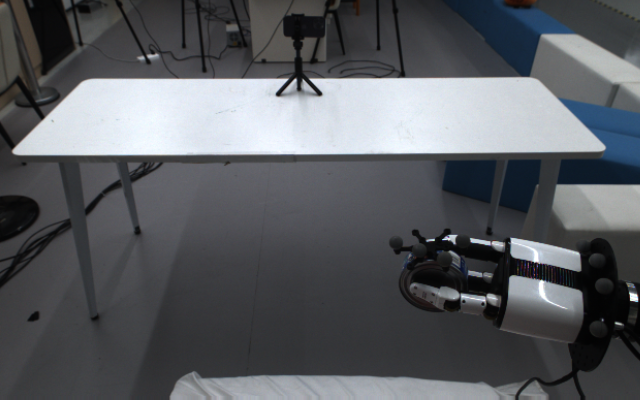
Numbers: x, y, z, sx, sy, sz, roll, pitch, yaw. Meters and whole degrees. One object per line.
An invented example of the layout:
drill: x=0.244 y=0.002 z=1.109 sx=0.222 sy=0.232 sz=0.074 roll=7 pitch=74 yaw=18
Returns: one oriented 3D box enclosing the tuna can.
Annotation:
tuna can: x=0.147 y=0.100 z=0.616 sx=0.085 sy=0.085 sz=0.034 roll=10 pitch=32 yaw=12
